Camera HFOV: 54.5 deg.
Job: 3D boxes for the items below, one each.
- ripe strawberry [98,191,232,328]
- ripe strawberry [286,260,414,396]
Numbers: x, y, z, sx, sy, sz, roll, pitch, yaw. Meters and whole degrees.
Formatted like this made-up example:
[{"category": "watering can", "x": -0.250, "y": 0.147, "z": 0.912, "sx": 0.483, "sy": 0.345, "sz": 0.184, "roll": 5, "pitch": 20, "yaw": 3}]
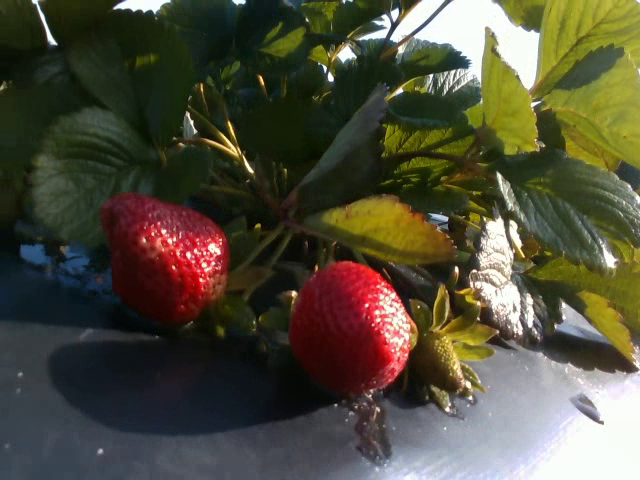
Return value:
[{"category": "ripe strawberry", "x": -0.051, "y": 0.004, "z": 0.201, "sx": 0.039, "sy": 0.048, "sz": 0.054, "roll": -32, "pitch": -42, "yaw": 15}, {"category": "ripe strawberry", "x": 0.012, "y": 0.024, "z": 0.178, "sx": 0.043, "sy": 0.038, "sz": 0.053, "roll": 33, "pitch": -8, "yaw": -12}]
